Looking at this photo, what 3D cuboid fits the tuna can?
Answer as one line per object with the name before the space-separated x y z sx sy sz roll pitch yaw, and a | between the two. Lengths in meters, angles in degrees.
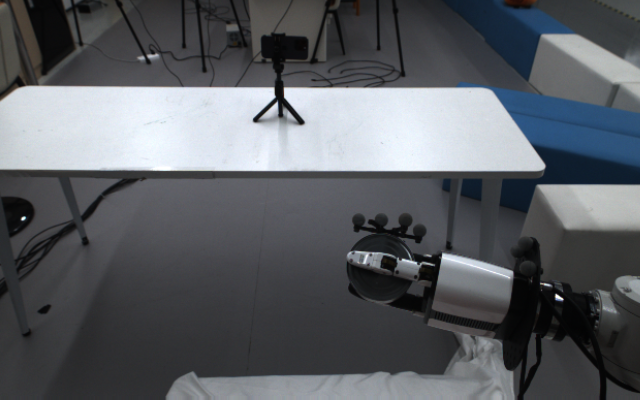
tuna can | 0.079 0.084 0.613 0.085 0.034 0.085 -2 70 7
